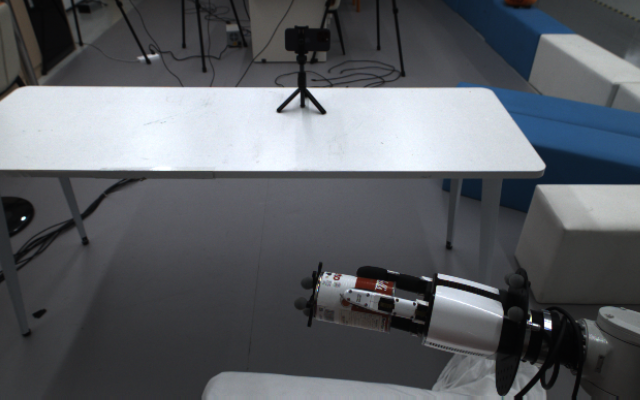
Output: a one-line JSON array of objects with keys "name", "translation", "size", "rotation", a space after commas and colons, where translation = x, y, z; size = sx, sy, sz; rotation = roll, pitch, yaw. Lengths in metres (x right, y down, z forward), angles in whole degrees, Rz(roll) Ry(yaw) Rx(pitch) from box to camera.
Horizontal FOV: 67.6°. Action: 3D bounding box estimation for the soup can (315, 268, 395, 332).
[{"name": "soup can", "translation": [0.051, 0.136, 0.650], "size": [0.101, 0.067, 0.067], "rotation": [7, 35, 10]}]
